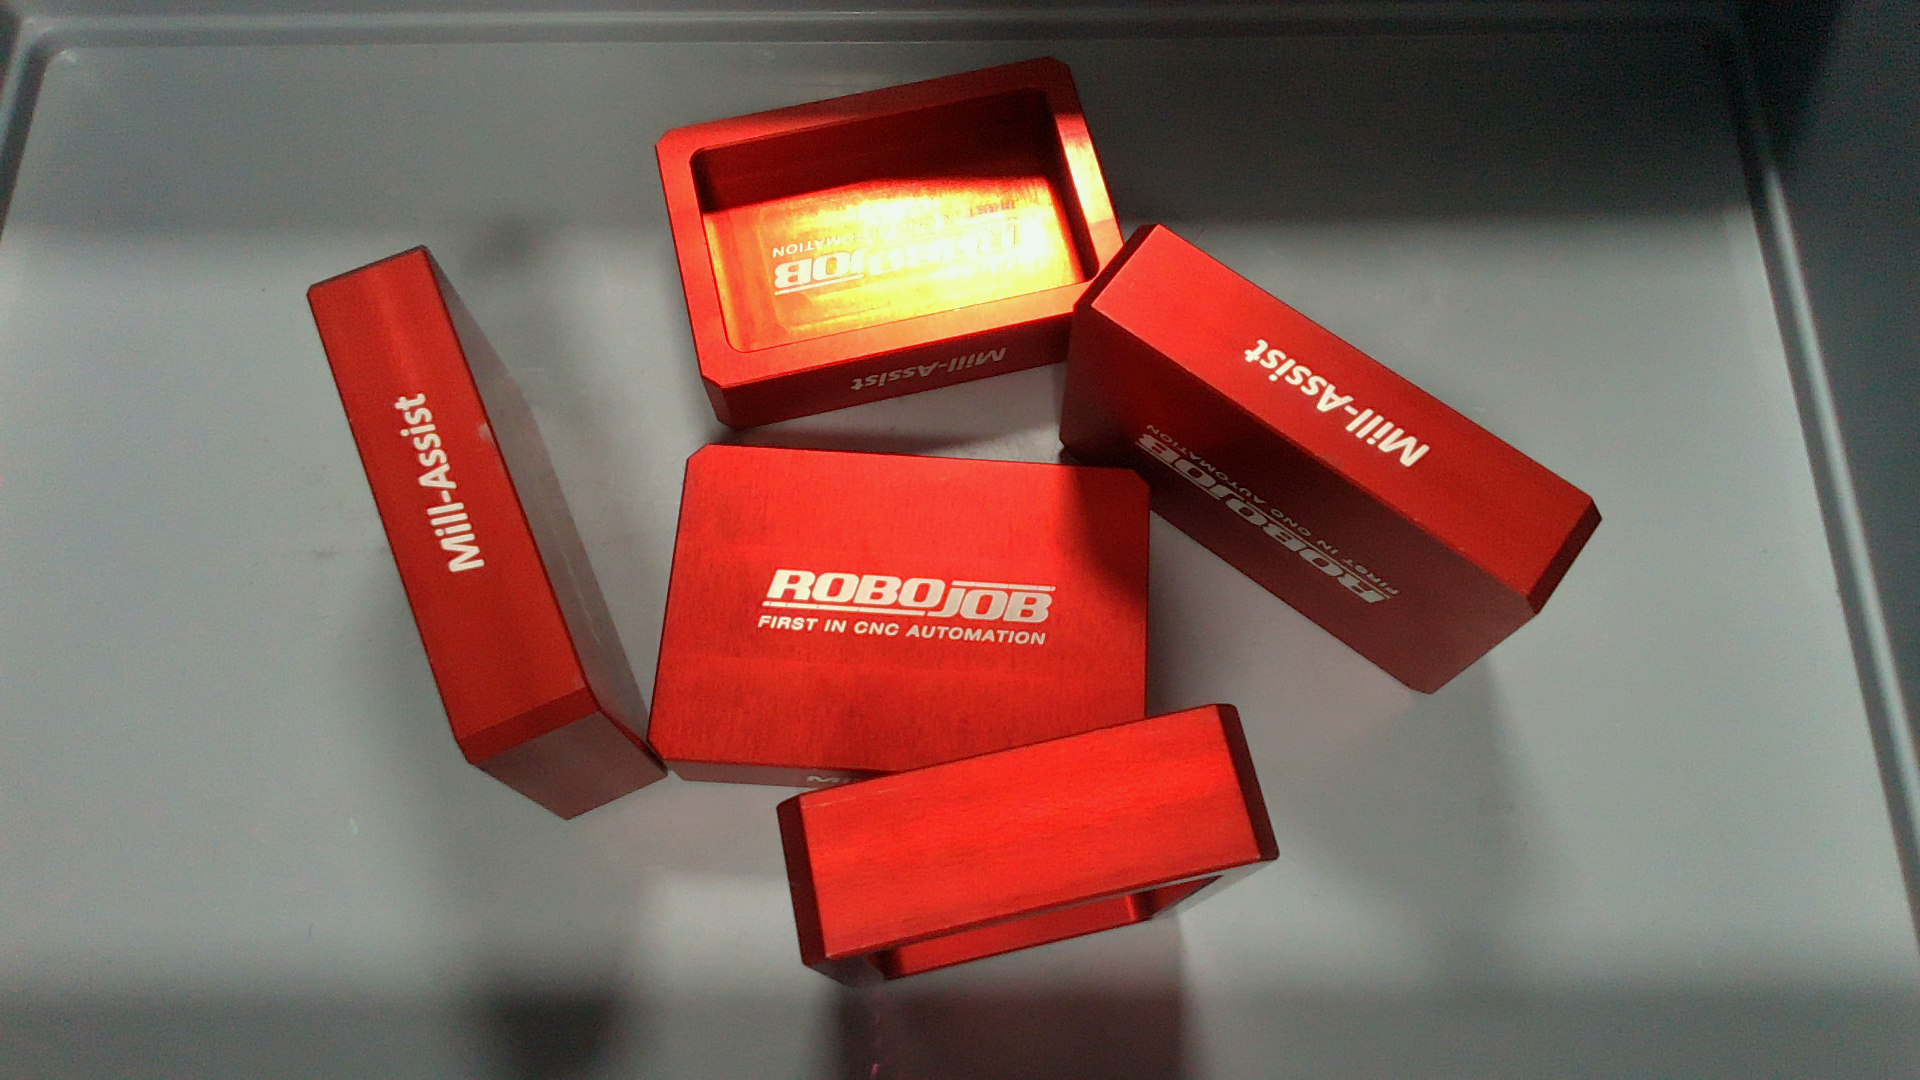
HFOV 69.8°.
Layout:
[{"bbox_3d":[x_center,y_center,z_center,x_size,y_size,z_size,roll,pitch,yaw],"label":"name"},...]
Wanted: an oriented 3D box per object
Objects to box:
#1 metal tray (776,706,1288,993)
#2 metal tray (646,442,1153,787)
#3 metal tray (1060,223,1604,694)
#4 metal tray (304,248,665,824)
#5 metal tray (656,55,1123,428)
[{"bbox_3d":[0.013,0.075,0.309,0.090,0.130,0.030,-12,71,-5],"label":"metal tray"},{"bbox_3d":[-0.014,0.023,0.381,0.130,0.030,0.090,3,70,1],"label":"metal tray"},{"bbox_3d":[0.089,-0.018,0.364,0.130,0.090,0.030,36,75,12],"label":"metal tray"},{"bbox_3d":[-0.120,0.002,0.357,0.030,0.090,0.130,-23,72,-9],"label":"metal tray"},{"bbox_3d":[-0.020,-0.093,0.424,0.130,0.030,0.090,-13,70,-5],"label":"metal tray"}]
